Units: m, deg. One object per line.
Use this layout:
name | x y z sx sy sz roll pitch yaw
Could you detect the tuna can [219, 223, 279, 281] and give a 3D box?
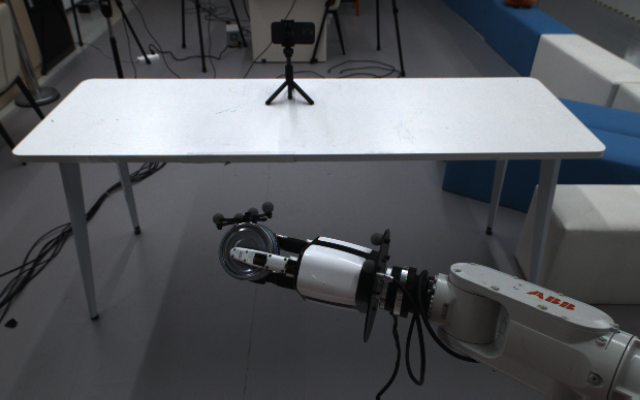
tuna can | -0.101 0.082 0.709 0.085 0.085 0.034 12 -6 15
